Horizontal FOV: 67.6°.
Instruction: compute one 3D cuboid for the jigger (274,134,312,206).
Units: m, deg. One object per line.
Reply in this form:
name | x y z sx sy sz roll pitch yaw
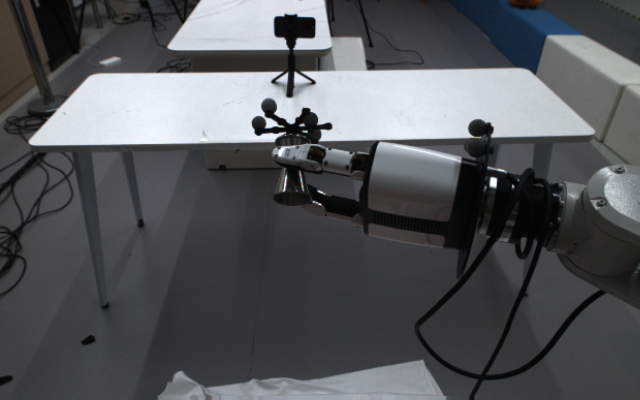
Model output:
jigger | -0.029 -0.034 0.529 0.043 0.043 0.071 0 70 -2
